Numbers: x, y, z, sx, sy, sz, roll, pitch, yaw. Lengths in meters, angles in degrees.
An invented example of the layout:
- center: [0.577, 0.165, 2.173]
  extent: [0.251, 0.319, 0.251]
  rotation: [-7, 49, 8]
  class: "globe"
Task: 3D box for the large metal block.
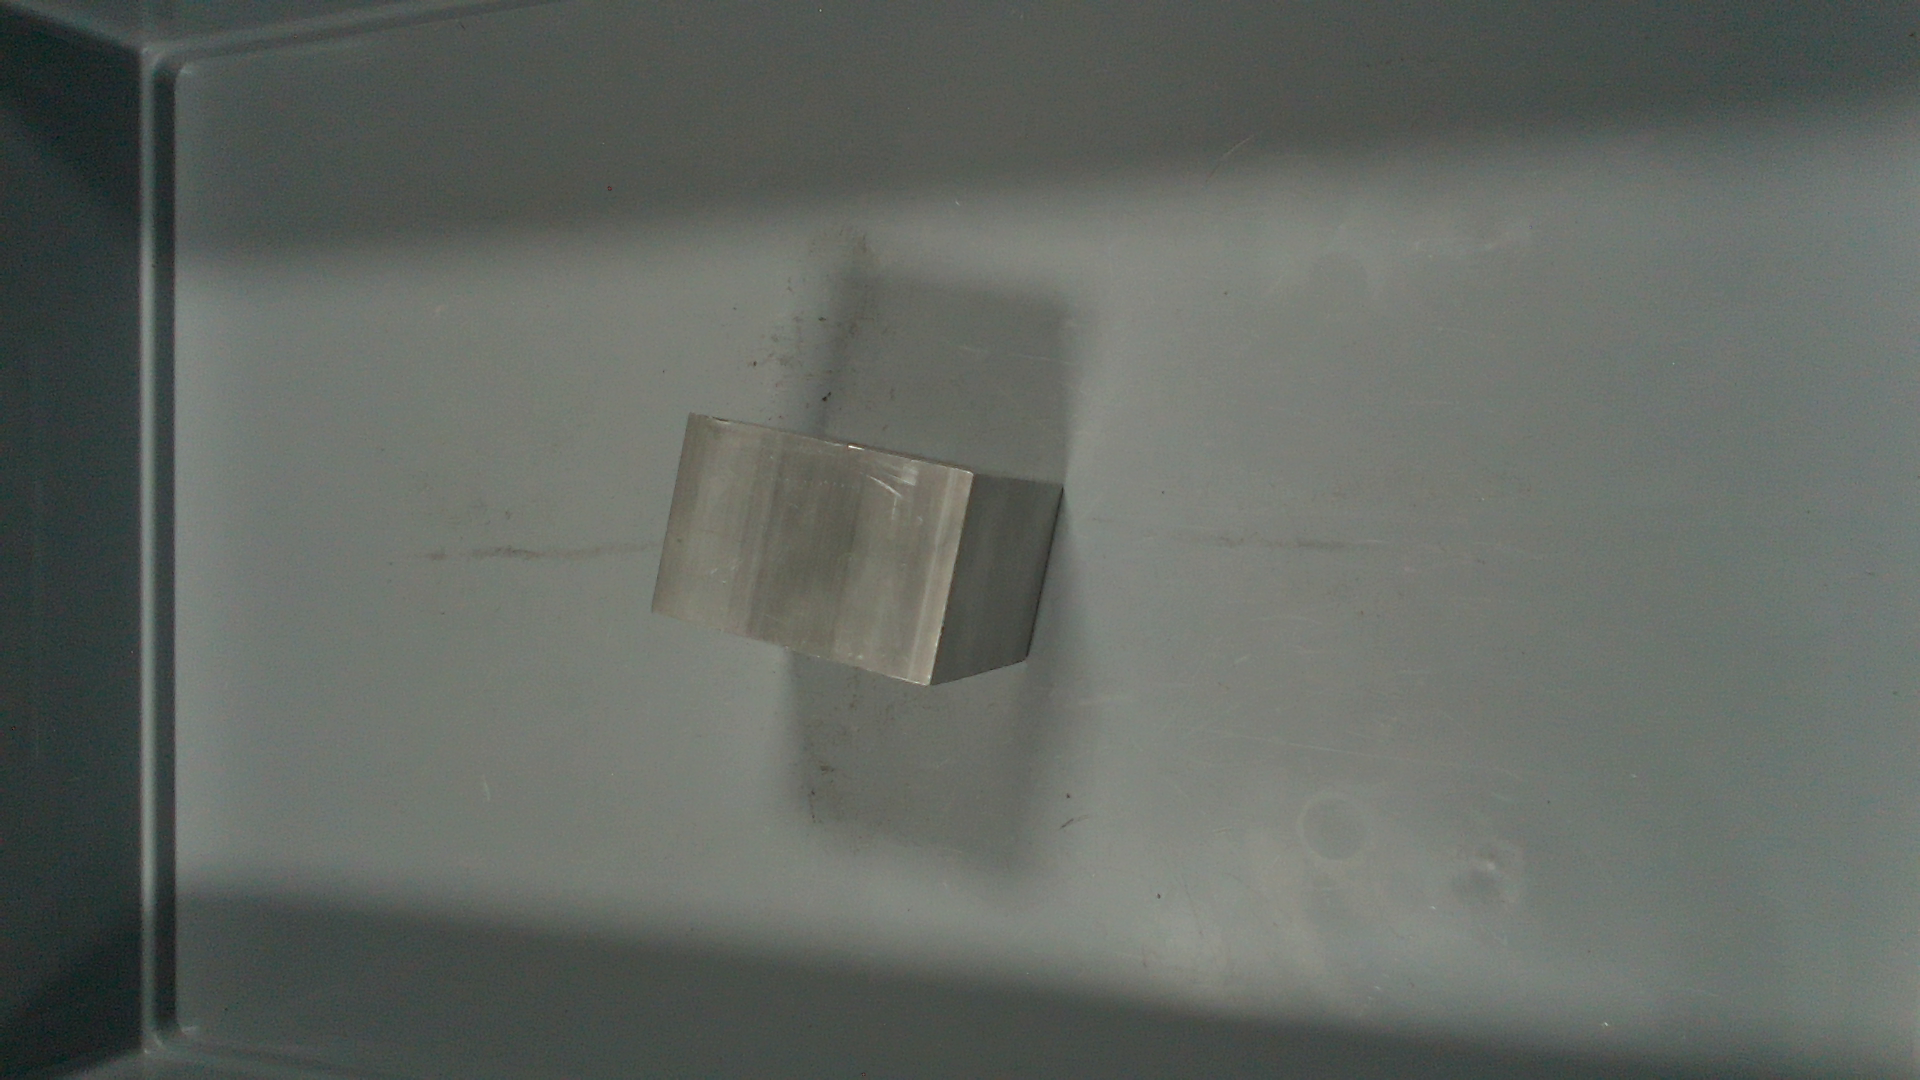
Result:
- center: [-0.024, 0.001, 0.373]
  extent: [0.080, 0.080, 0.050]
  rotation: [13, 95, 20]
  class: "large metal block"
